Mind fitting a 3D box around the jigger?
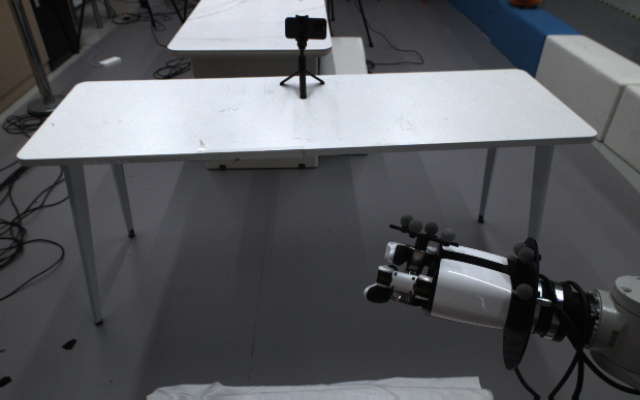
[{"bbox_3d":[0.117,0.093,0.608,0.043,0.071,0.043,17,2,-1],"label":"jigger"}]
